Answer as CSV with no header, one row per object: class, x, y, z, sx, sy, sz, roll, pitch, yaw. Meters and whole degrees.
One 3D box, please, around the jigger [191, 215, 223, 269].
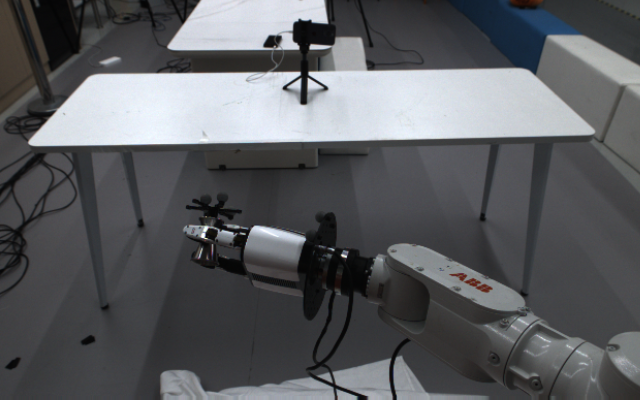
jigger,-0.173,0.063,0.744,0.043,0.043,0.071,5,72,4
